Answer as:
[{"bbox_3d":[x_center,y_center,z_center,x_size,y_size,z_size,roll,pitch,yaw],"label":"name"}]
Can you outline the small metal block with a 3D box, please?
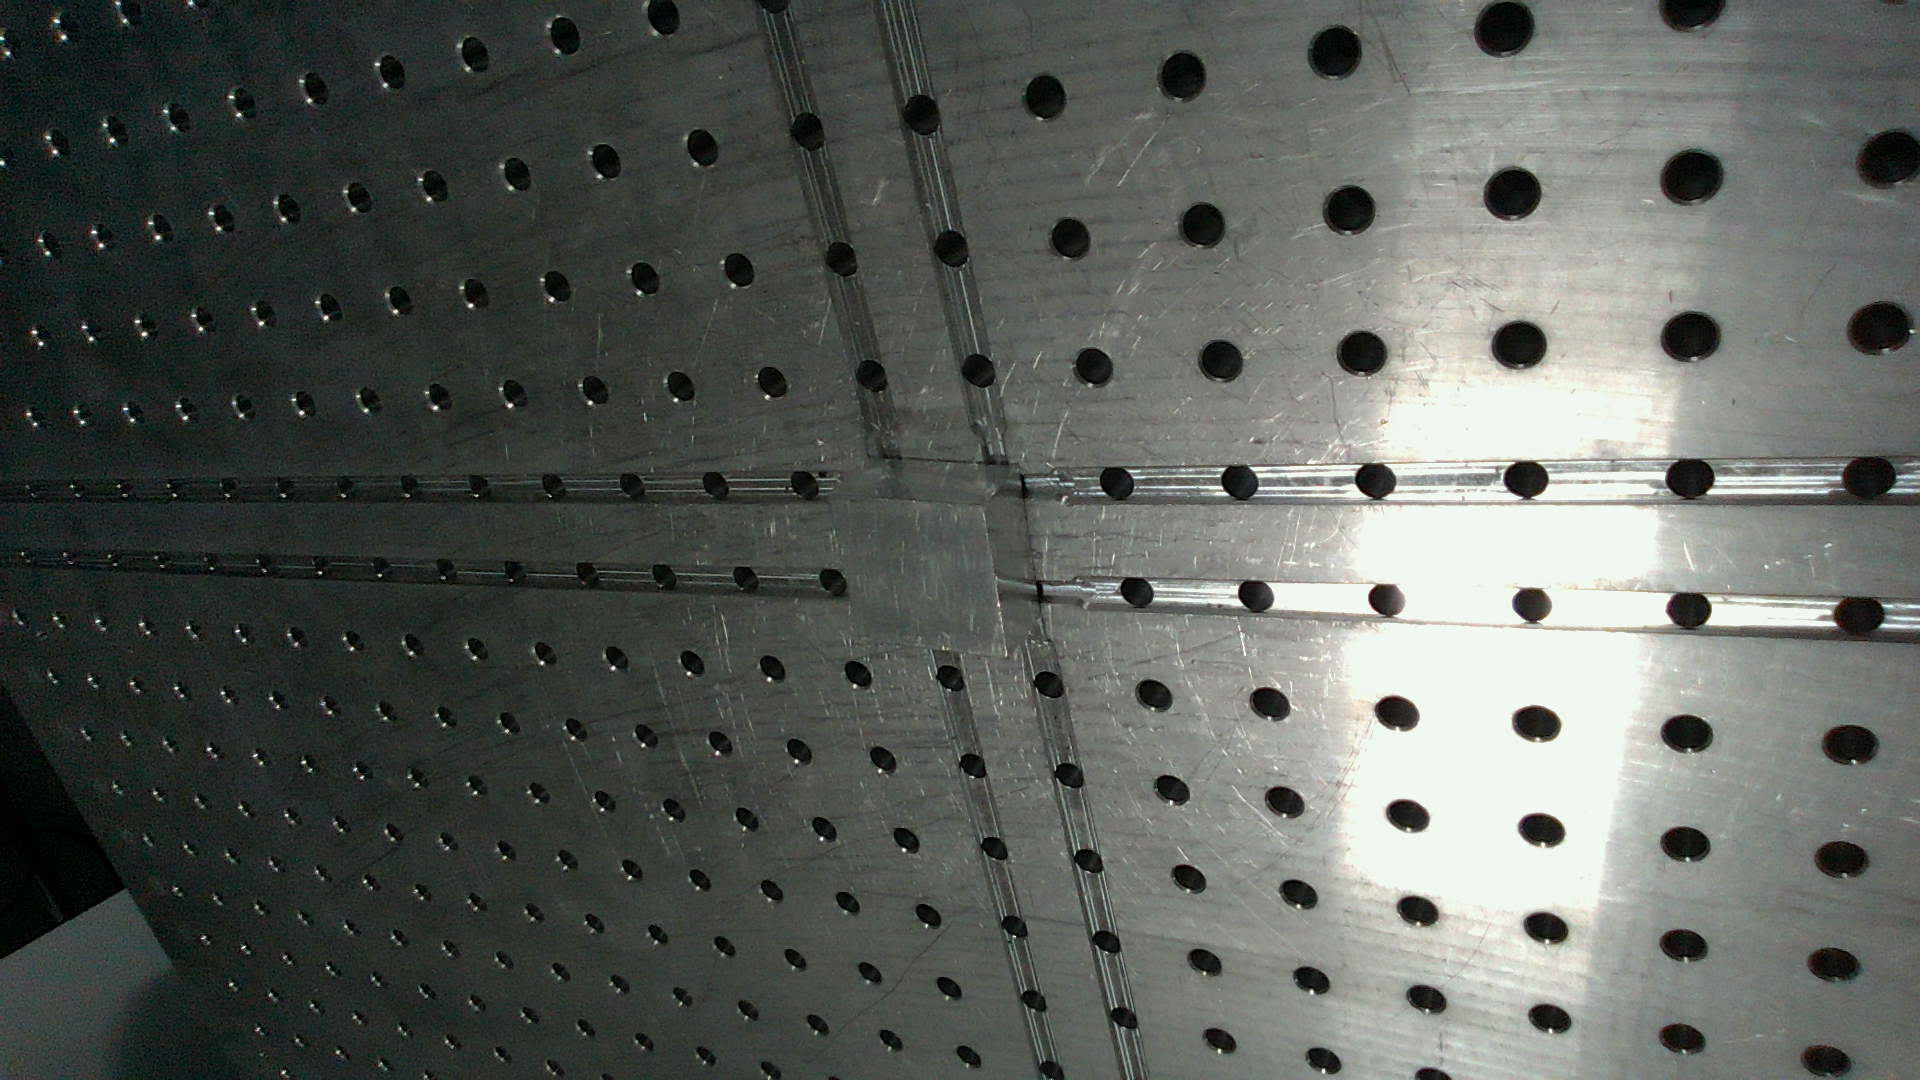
[{"bbox_3d":[-0.007,0.004,0.402,0.050,0.025,0.050,5,121,26],"label":"small metal block"}]
